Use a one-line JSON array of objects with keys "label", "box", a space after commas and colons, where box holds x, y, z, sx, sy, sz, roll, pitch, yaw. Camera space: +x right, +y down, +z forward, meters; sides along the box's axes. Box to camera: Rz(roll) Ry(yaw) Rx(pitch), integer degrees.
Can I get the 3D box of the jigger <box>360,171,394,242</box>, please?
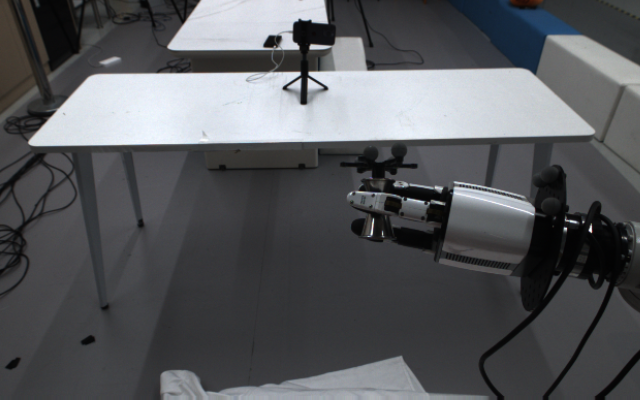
[{"label": "jigger", "box": [0.067, 0.010, 0.560, 0.043, 0.071, 0.043, 1, -6, 0]}]
